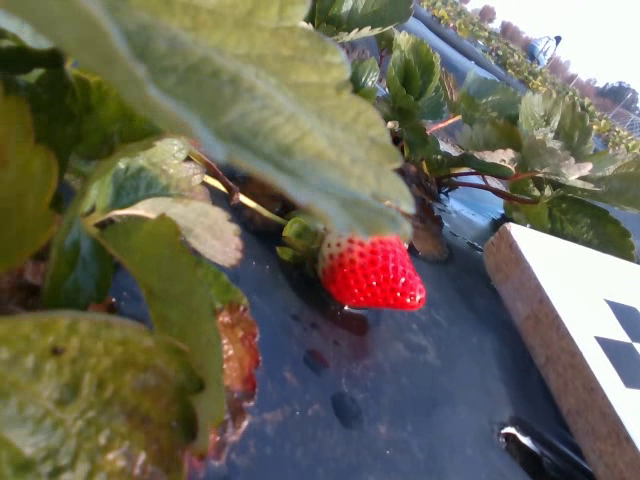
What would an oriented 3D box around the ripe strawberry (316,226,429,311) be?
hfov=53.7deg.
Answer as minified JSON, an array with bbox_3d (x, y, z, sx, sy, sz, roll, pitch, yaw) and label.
[{"bbox_3d":[0.017,0.009,0.204,0.043,0.030,0.035,43,33,17],"label":"ripe strawberry"}]
